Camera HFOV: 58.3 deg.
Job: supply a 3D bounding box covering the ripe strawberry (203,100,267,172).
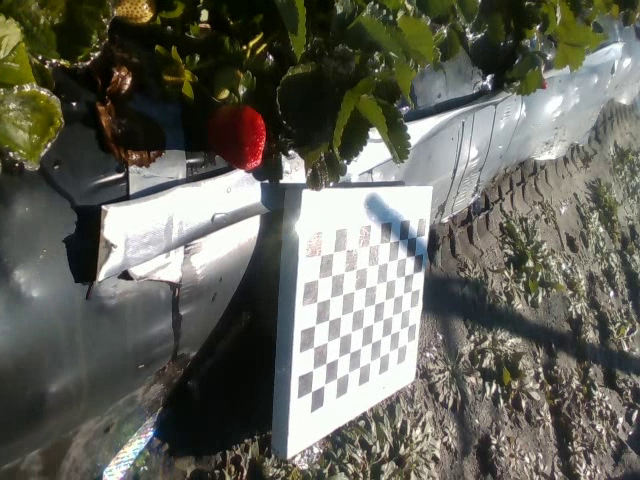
[{"bbox_3d":[-0.067,-0.081,0.490,0.057,0.065,0.062,-31,-37,10],"label":"ripe strawberry"}]
